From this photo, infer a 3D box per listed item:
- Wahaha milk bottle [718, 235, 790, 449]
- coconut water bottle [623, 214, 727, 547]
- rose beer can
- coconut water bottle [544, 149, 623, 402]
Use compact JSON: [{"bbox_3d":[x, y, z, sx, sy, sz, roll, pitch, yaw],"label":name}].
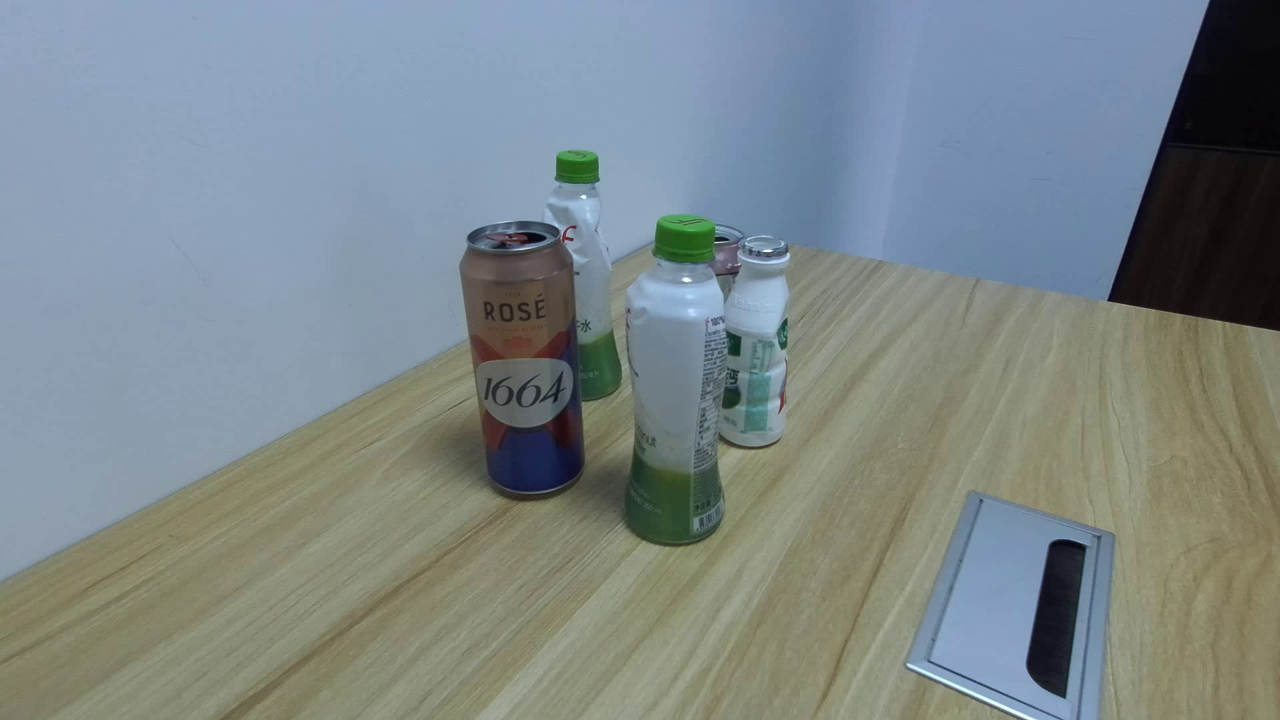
[{"bbox_3d":[0.082,-0.011,0.489,0.056,0.148,0.056,1,26,0],"label":"Wahaha milk bottle"},{"bbox_3d":[0.021,0.013,0.403,0.069,0.187,0.069,-1,25,1],"label":"coconut water bottle"},{"bbox_3d":[-0.072,0.003,0.450,0.068,0.169,0.068,-2,26,1],"label":"rose beer can"},{"bbox_3d":[-0.046,-0.064,0.552,0.067,0.187,0.067,0,28,0],"label":"coconut water bottle"}]
